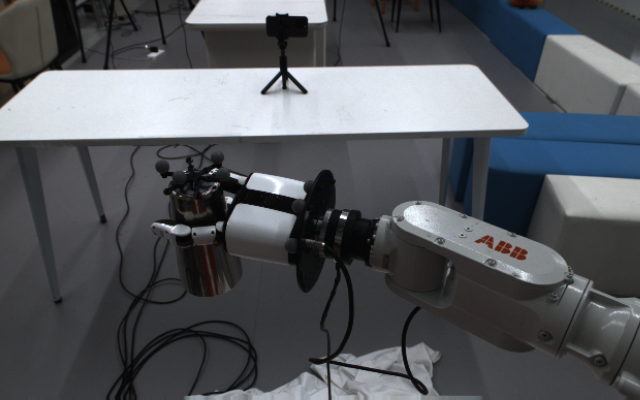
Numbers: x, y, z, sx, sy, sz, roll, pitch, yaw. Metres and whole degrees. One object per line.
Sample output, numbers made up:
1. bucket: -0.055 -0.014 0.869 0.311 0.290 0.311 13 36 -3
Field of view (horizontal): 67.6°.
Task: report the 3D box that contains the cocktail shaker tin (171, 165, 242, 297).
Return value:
1. cocktail shaker tin: -0.158 0.041 0.672 0.093 0.170 0.093 1 39 0
